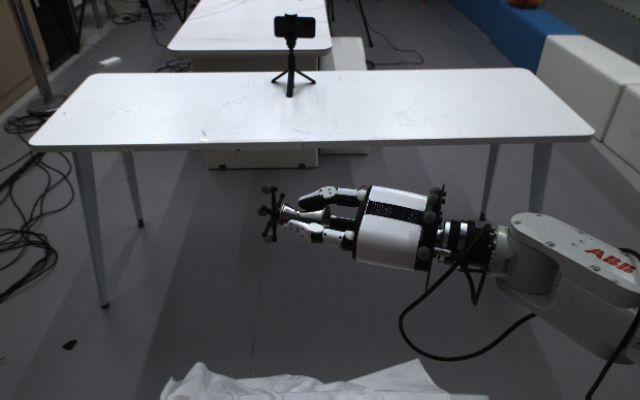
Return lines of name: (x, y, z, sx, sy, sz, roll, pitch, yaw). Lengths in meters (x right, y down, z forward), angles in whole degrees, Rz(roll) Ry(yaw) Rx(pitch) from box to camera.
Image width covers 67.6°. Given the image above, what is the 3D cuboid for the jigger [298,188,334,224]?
jigger: (-0.015, 0.024, 0.728, 0.071, 0.043, 0.043, 5, 34, 17)
